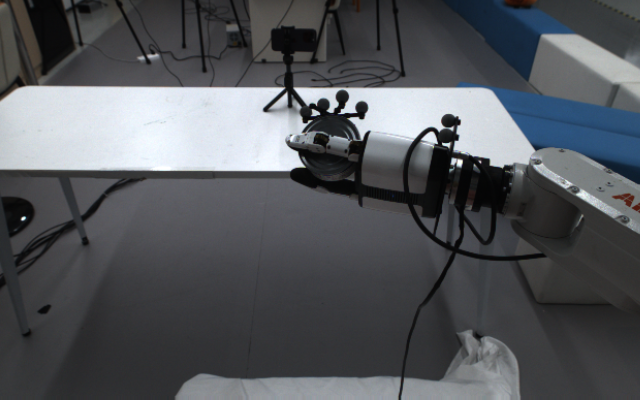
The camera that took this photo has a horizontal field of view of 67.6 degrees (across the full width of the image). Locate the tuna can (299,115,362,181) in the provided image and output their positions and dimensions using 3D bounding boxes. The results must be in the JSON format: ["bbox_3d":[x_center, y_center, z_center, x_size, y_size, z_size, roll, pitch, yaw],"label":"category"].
[{"bbox_3d":[0.015,-0.070,0.654,0.085,0.034,0.085,-5,70,14],"label":"tuna can"}]
